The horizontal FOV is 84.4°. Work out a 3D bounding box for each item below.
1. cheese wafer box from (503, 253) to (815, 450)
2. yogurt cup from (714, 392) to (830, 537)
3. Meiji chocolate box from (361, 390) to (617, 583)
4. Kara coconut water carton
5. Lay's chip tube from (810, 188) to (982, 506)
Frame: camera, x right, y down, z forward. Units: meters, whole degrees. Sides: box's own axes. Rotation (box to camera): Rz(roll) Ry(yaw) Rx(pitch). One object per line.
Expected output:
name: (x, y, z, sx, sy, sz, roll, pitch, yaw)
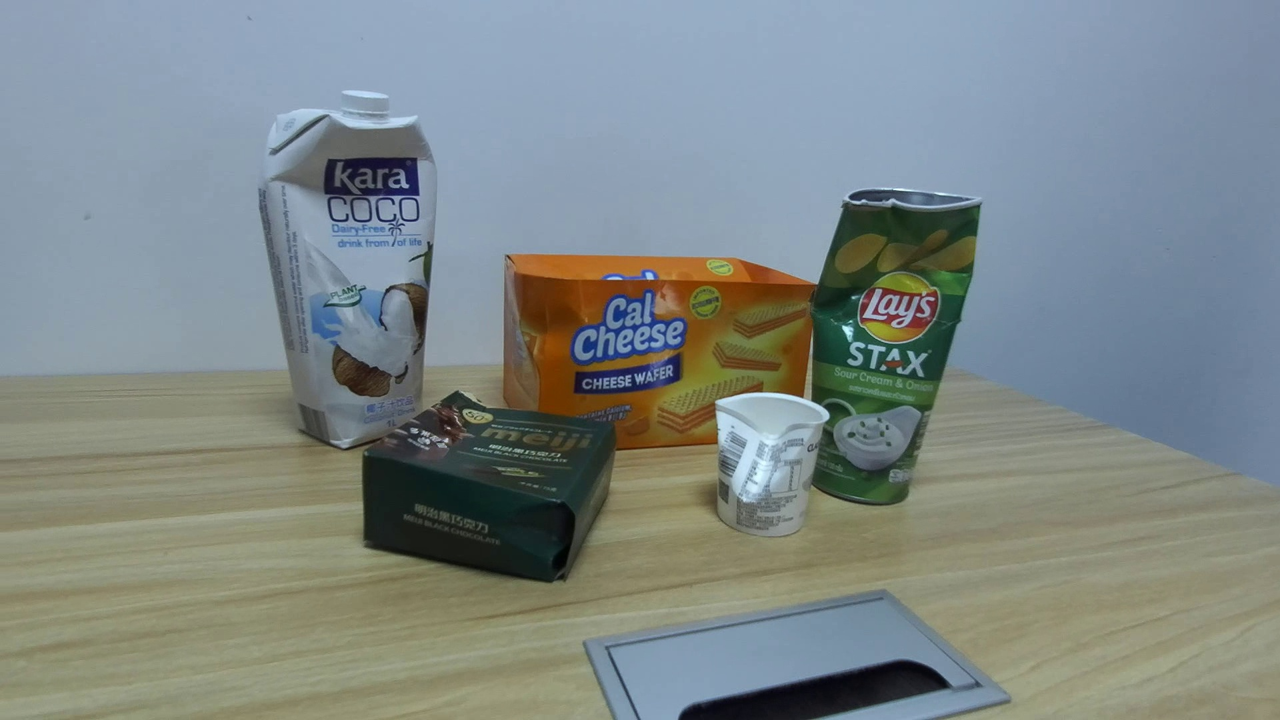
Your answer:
cheese wafer box: (0.006, -0.010, 0.579, 0.231, 0.132, 0.151, 0, 17, -20)
yogurt cup: (0.077, 0.062, 0.425, 0.067, 0.070, 0.067, 2, 14, 0)
Meiji chocolate box: (-0.078, 0.069, 0.402, 0.115, 0.058, 0.122, 9, 17, 9)
Kara coconut water carton: (-0.199, -0.062, 0.494, 0.069, 0.238, 0.115, 17, 20, 33)
Lay's chip tube: (0.159, -0.009, 0.467, 0.077, 0.201, 0.069, -3, 16, -18)
